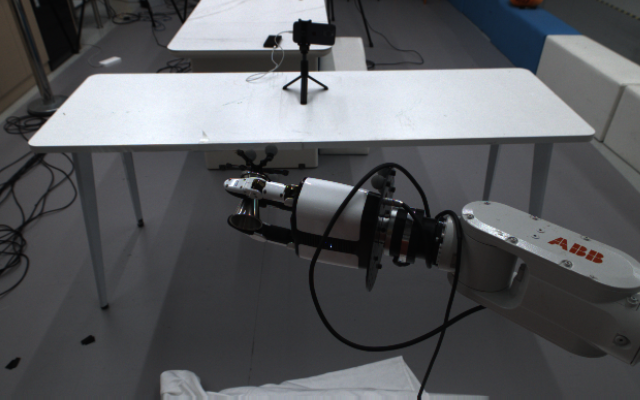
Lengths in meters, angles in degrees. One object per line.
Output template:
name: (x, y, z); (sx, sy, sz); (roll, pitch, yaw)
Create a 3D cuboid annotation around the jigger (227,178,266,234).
jigger: (-0.097, 0.000, 0.654); (0.043, 0.043, 0.071); (6, 61, 6)
